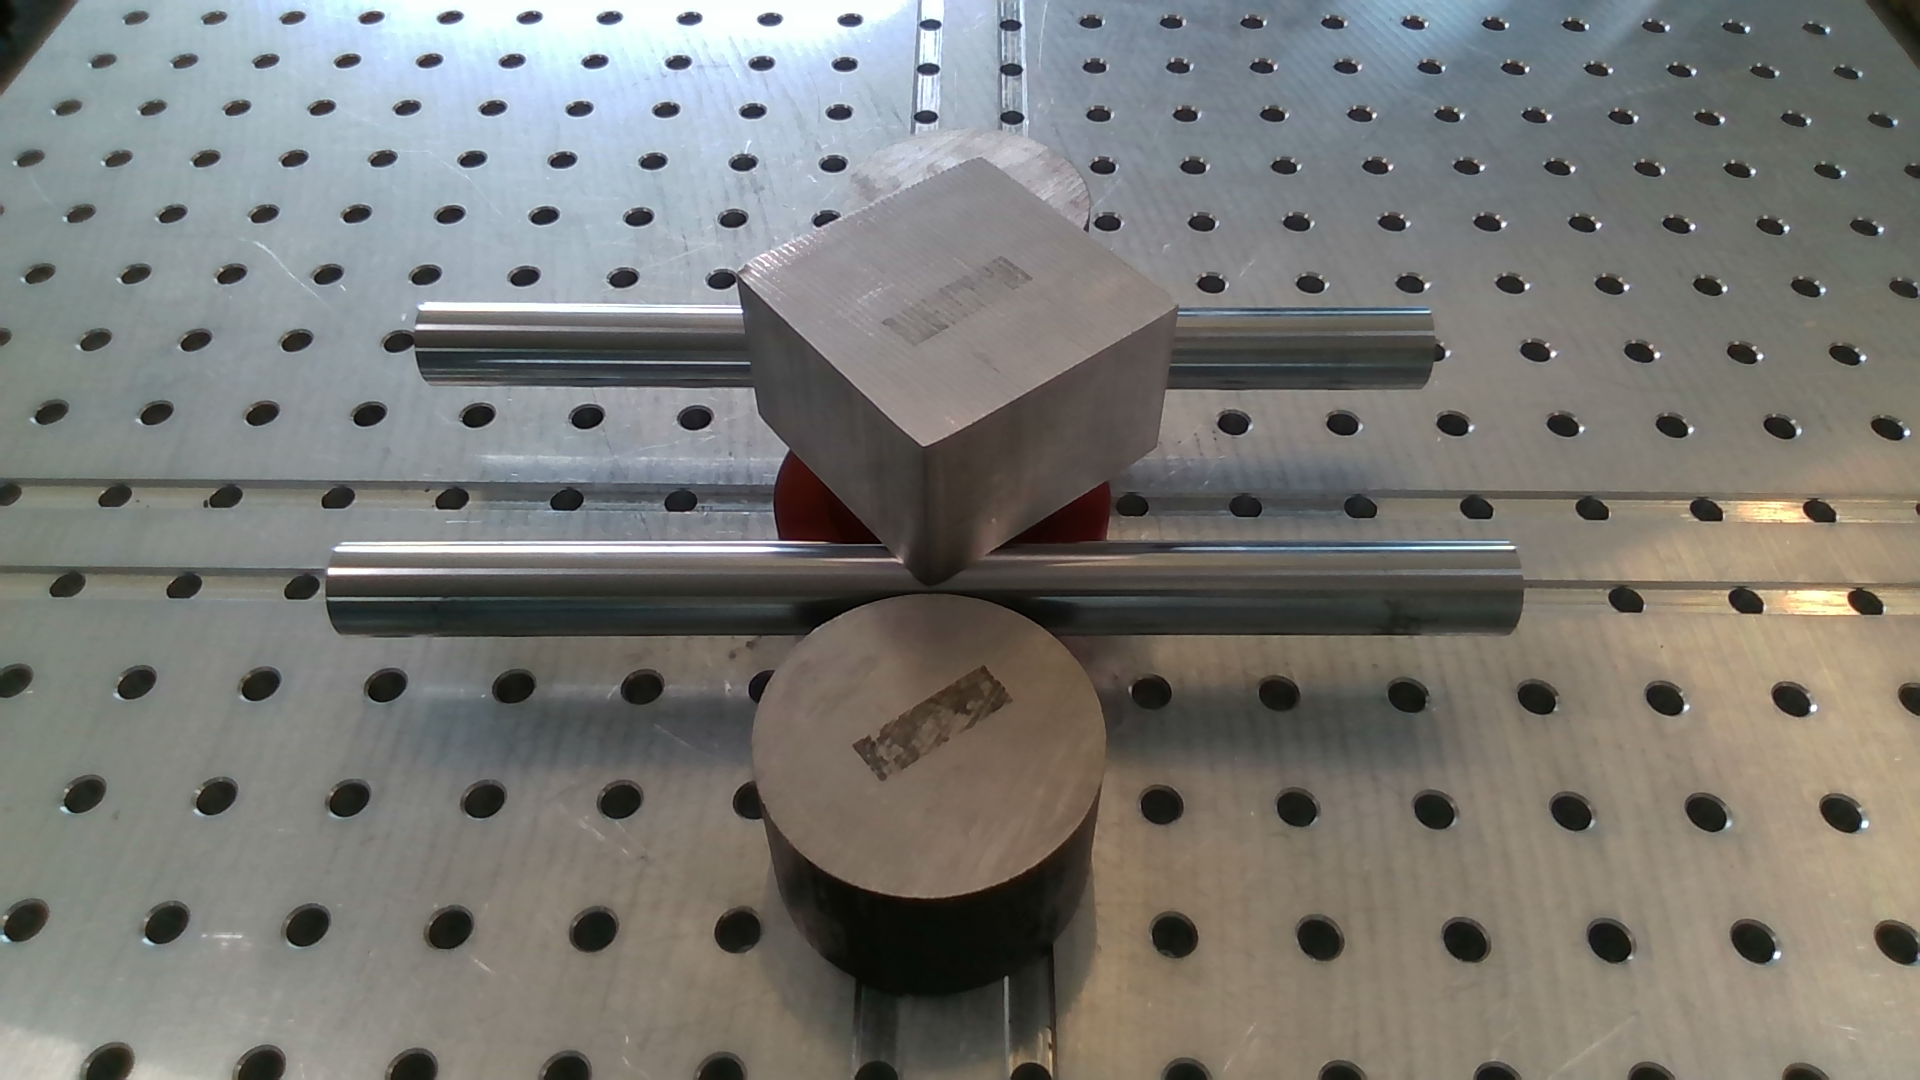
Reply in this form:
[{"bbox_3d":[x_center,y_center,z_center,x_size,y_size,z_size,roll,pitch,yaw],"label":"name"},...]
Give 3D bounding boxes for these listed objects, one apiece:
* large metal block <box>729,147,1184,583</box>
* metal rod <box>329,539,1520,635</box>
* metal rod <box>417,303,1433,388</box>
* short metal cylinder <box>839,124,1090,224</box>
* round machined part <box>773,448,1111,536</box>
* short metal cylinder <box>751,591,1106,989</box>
[{"bbox_3d":[-0.001,-0.048,0.359,0.080,0.050,0.080,-31,57,-23],"label":"large metal block"},{"bbox_3d":[-0.009,0.012,0.359,0.300,0.025,0.025,0,50,0],"label":"metal rod"},{"bbox_3d":[-0.011,-0.059,0.419,0.300,0.025,0.025,0,50,0],"label":"metal rod"},{"bbox_3d":[0.002,-0.094,0.459,0.080,0.050,0.080,0,50,0],"label":"short metal cylinder"},{"bbox_3d":[-0.005,-0.015,0.399,0.098,0.042,0.098,0,50,0],"label":"round machined part"},{"bbox_3d":[-0.007,0.059,0.331,0.080,0.050,0.080,0,50,0],"label":"short metal cylinder"}]
